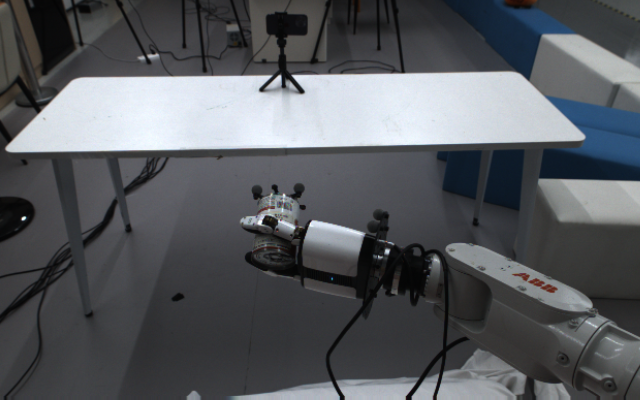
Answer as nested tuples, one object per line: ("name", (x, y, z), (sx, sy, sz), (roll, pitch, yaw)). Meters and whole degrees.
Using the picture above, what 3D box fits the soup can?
("soup can", (-0.067, 0.049, 0.745), (0.067, 0.067, 0.101), (3, 57, 1))
